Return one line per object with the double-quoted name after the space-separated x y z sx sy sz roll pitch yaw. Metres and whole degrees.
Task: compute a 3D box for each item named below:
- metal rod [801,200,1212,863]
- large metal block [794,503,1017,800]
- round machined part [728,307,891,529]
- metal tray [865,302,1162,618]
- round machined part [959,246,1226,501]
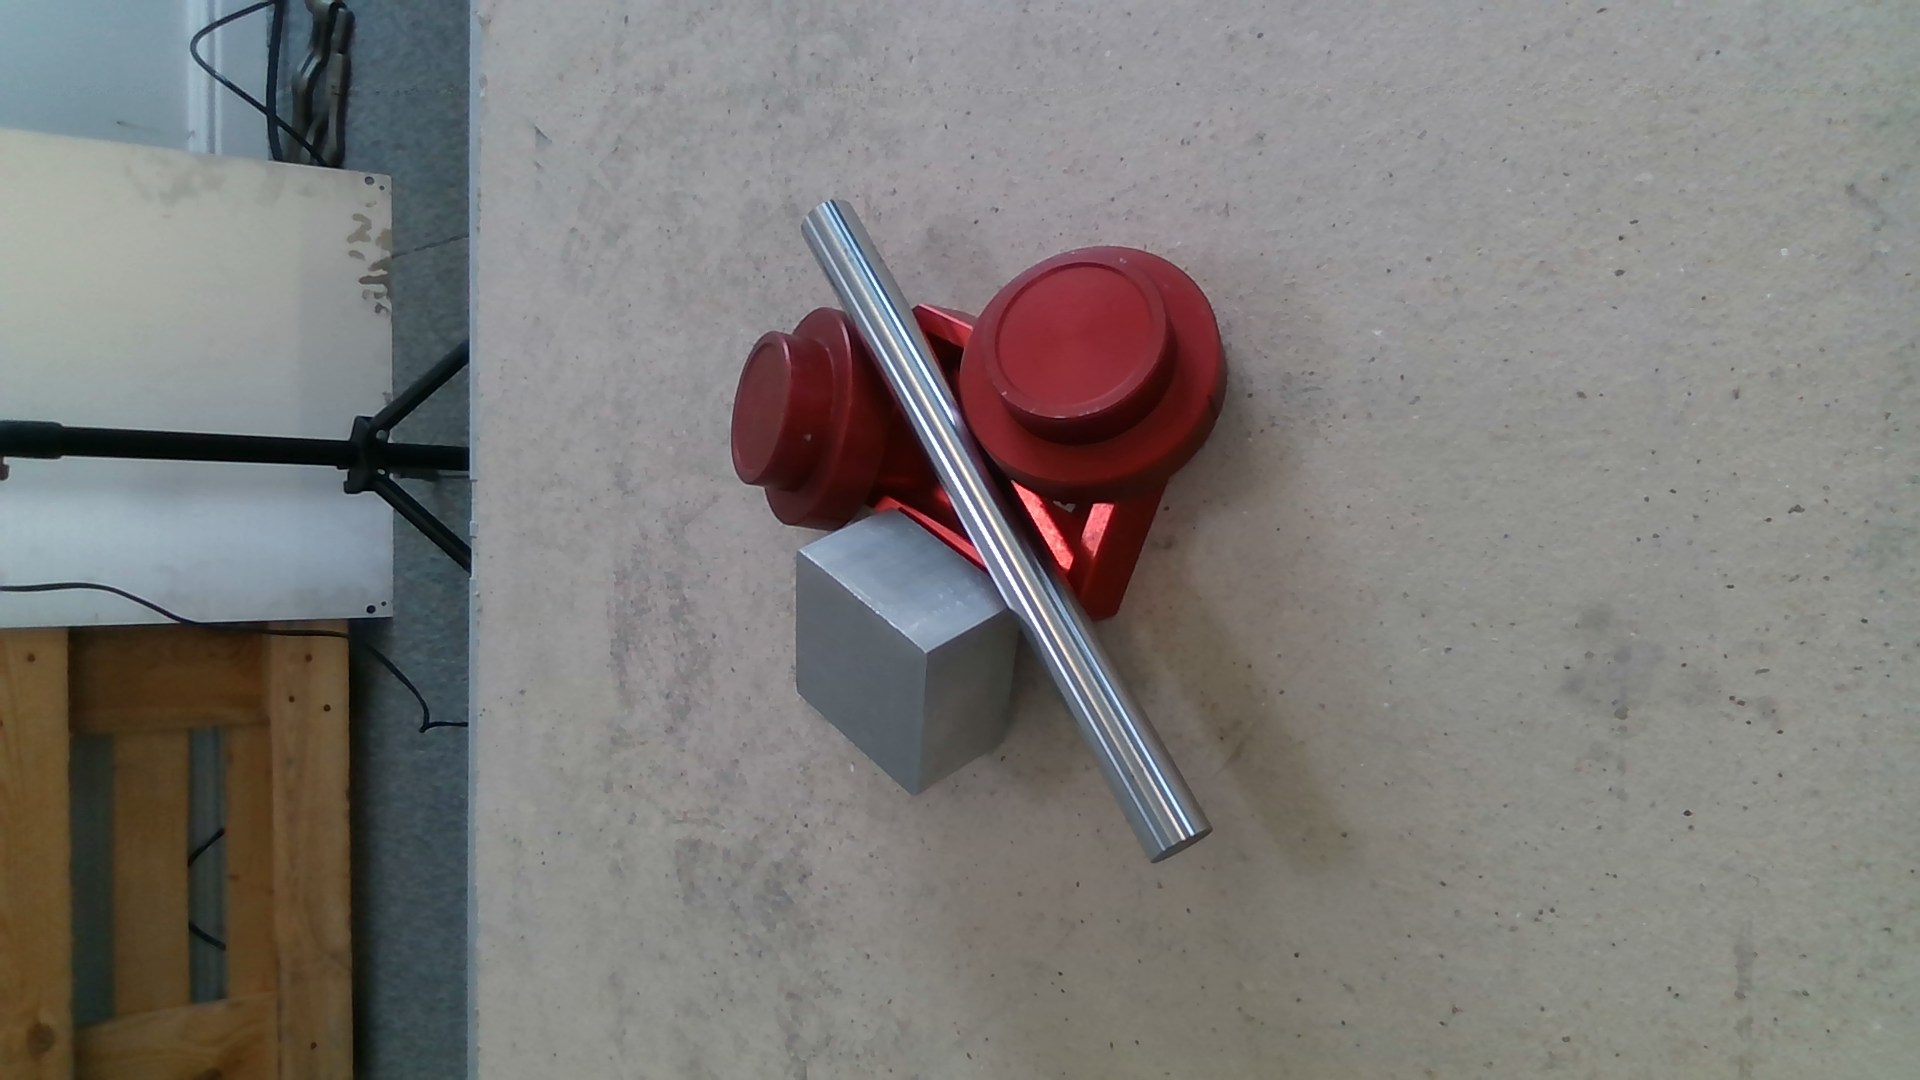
0.010 -0.015 0.535 0.025 0.025 0.299 -43 64 32 "metal rod"
-0.024 0.045 0.568 0.080 0.050 0.080 36 137 34 "large metal block"
-0.071 -0.055 0.608 0.098 0.042 0.098 -22 64 57 "round machined part"
0.020 -0.033 0.562 0.130 0.030 0.090 31 110 36 "metal tray"
0.046 -0.066 0.506 0.098 0.042 0.098 -7 68 17 "round machined part"
